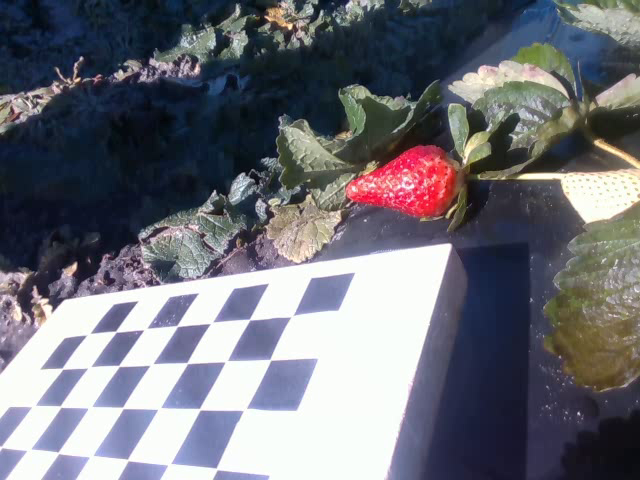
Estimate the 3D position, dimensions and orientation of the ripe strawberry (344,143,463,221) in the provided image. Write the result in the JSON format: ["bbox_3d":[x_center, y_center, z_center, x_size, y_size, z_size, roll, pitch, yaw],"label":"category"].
[{"bbox_3d":[0.042,-0.029,0.311,0.068,0.040,0.048,-15,31,15],"label":"ripe strawberry"}]
